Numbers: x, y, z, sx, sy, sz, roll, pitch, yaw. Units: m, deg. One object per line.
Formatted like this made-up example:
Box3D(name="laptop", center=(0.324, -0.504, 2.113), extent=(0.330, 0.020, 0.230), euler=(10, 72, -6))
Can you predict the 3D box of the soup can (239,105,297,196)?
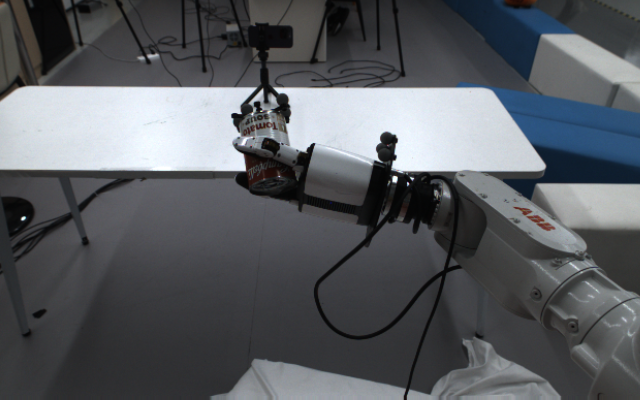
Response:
Box3D(name="soup can", center=(-0.072, -0.064, 0.672), extent=(0.067, 0.067, 0.101), euler=(-8, 74, -14))
